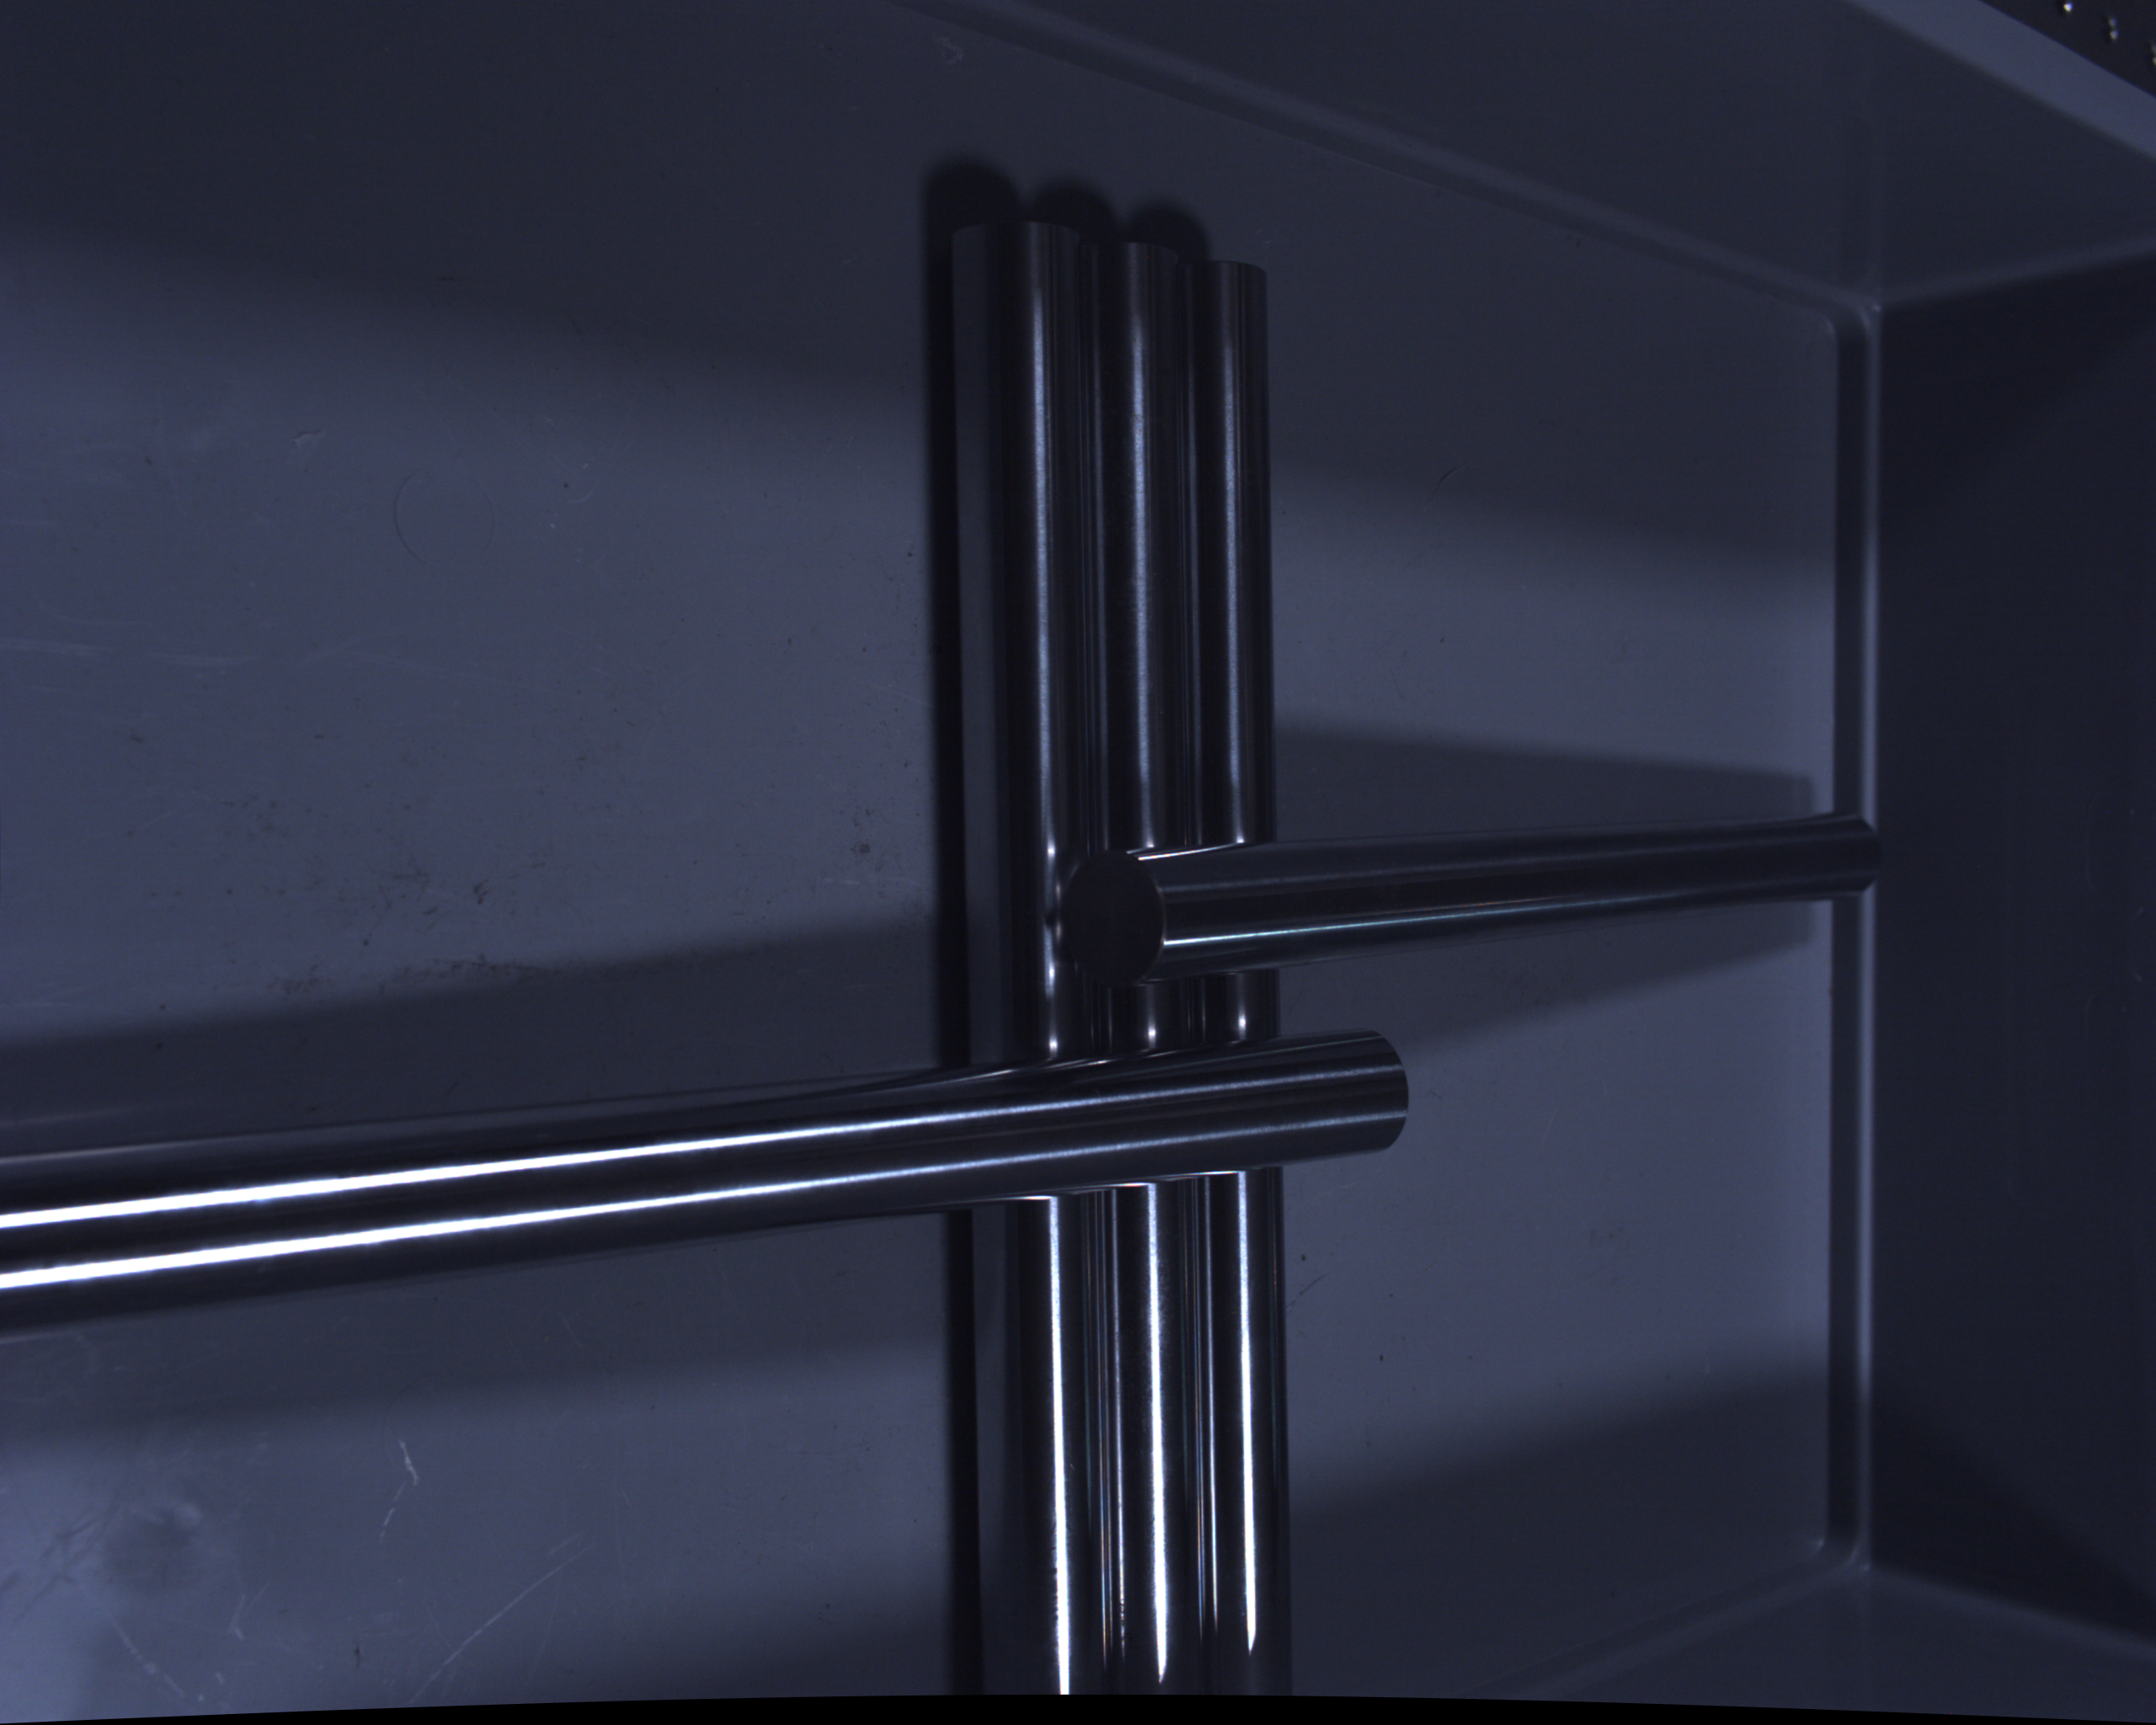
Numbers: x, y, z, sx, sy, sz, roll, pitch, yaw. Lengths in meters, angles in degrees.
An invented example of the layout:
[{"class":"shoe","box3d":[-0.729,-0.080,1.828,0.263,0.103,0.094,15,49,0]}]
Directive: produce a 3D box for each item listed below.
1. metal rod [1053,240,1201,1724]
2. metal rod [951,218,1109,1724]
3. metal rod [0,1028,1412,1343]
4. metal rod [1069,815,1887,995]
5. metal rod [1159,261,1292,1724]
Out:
[{"class":"metal rod","box3d":[0.010,0.029,0.415,0.025,0.025,0.298,-2,91,-40]},{"class":"metal rod","box3d":[-0.009,0.030,0.399,0.025,0.025,0.298,-2,91,-40]},{"class":"metal rod","box3d":[-0.067,0.049,0.329,0.303,0.025,0.025,-2,91,-34]},{"class":"metal rod","box3d":[0.112,0.005,0.479,0.302,0.025,0.025,-3,92,-46]},{"class":"metal rod","box3d":[0.030,0.028,0.432,0.025,0.025,0.298,-2,91,-40]}]
